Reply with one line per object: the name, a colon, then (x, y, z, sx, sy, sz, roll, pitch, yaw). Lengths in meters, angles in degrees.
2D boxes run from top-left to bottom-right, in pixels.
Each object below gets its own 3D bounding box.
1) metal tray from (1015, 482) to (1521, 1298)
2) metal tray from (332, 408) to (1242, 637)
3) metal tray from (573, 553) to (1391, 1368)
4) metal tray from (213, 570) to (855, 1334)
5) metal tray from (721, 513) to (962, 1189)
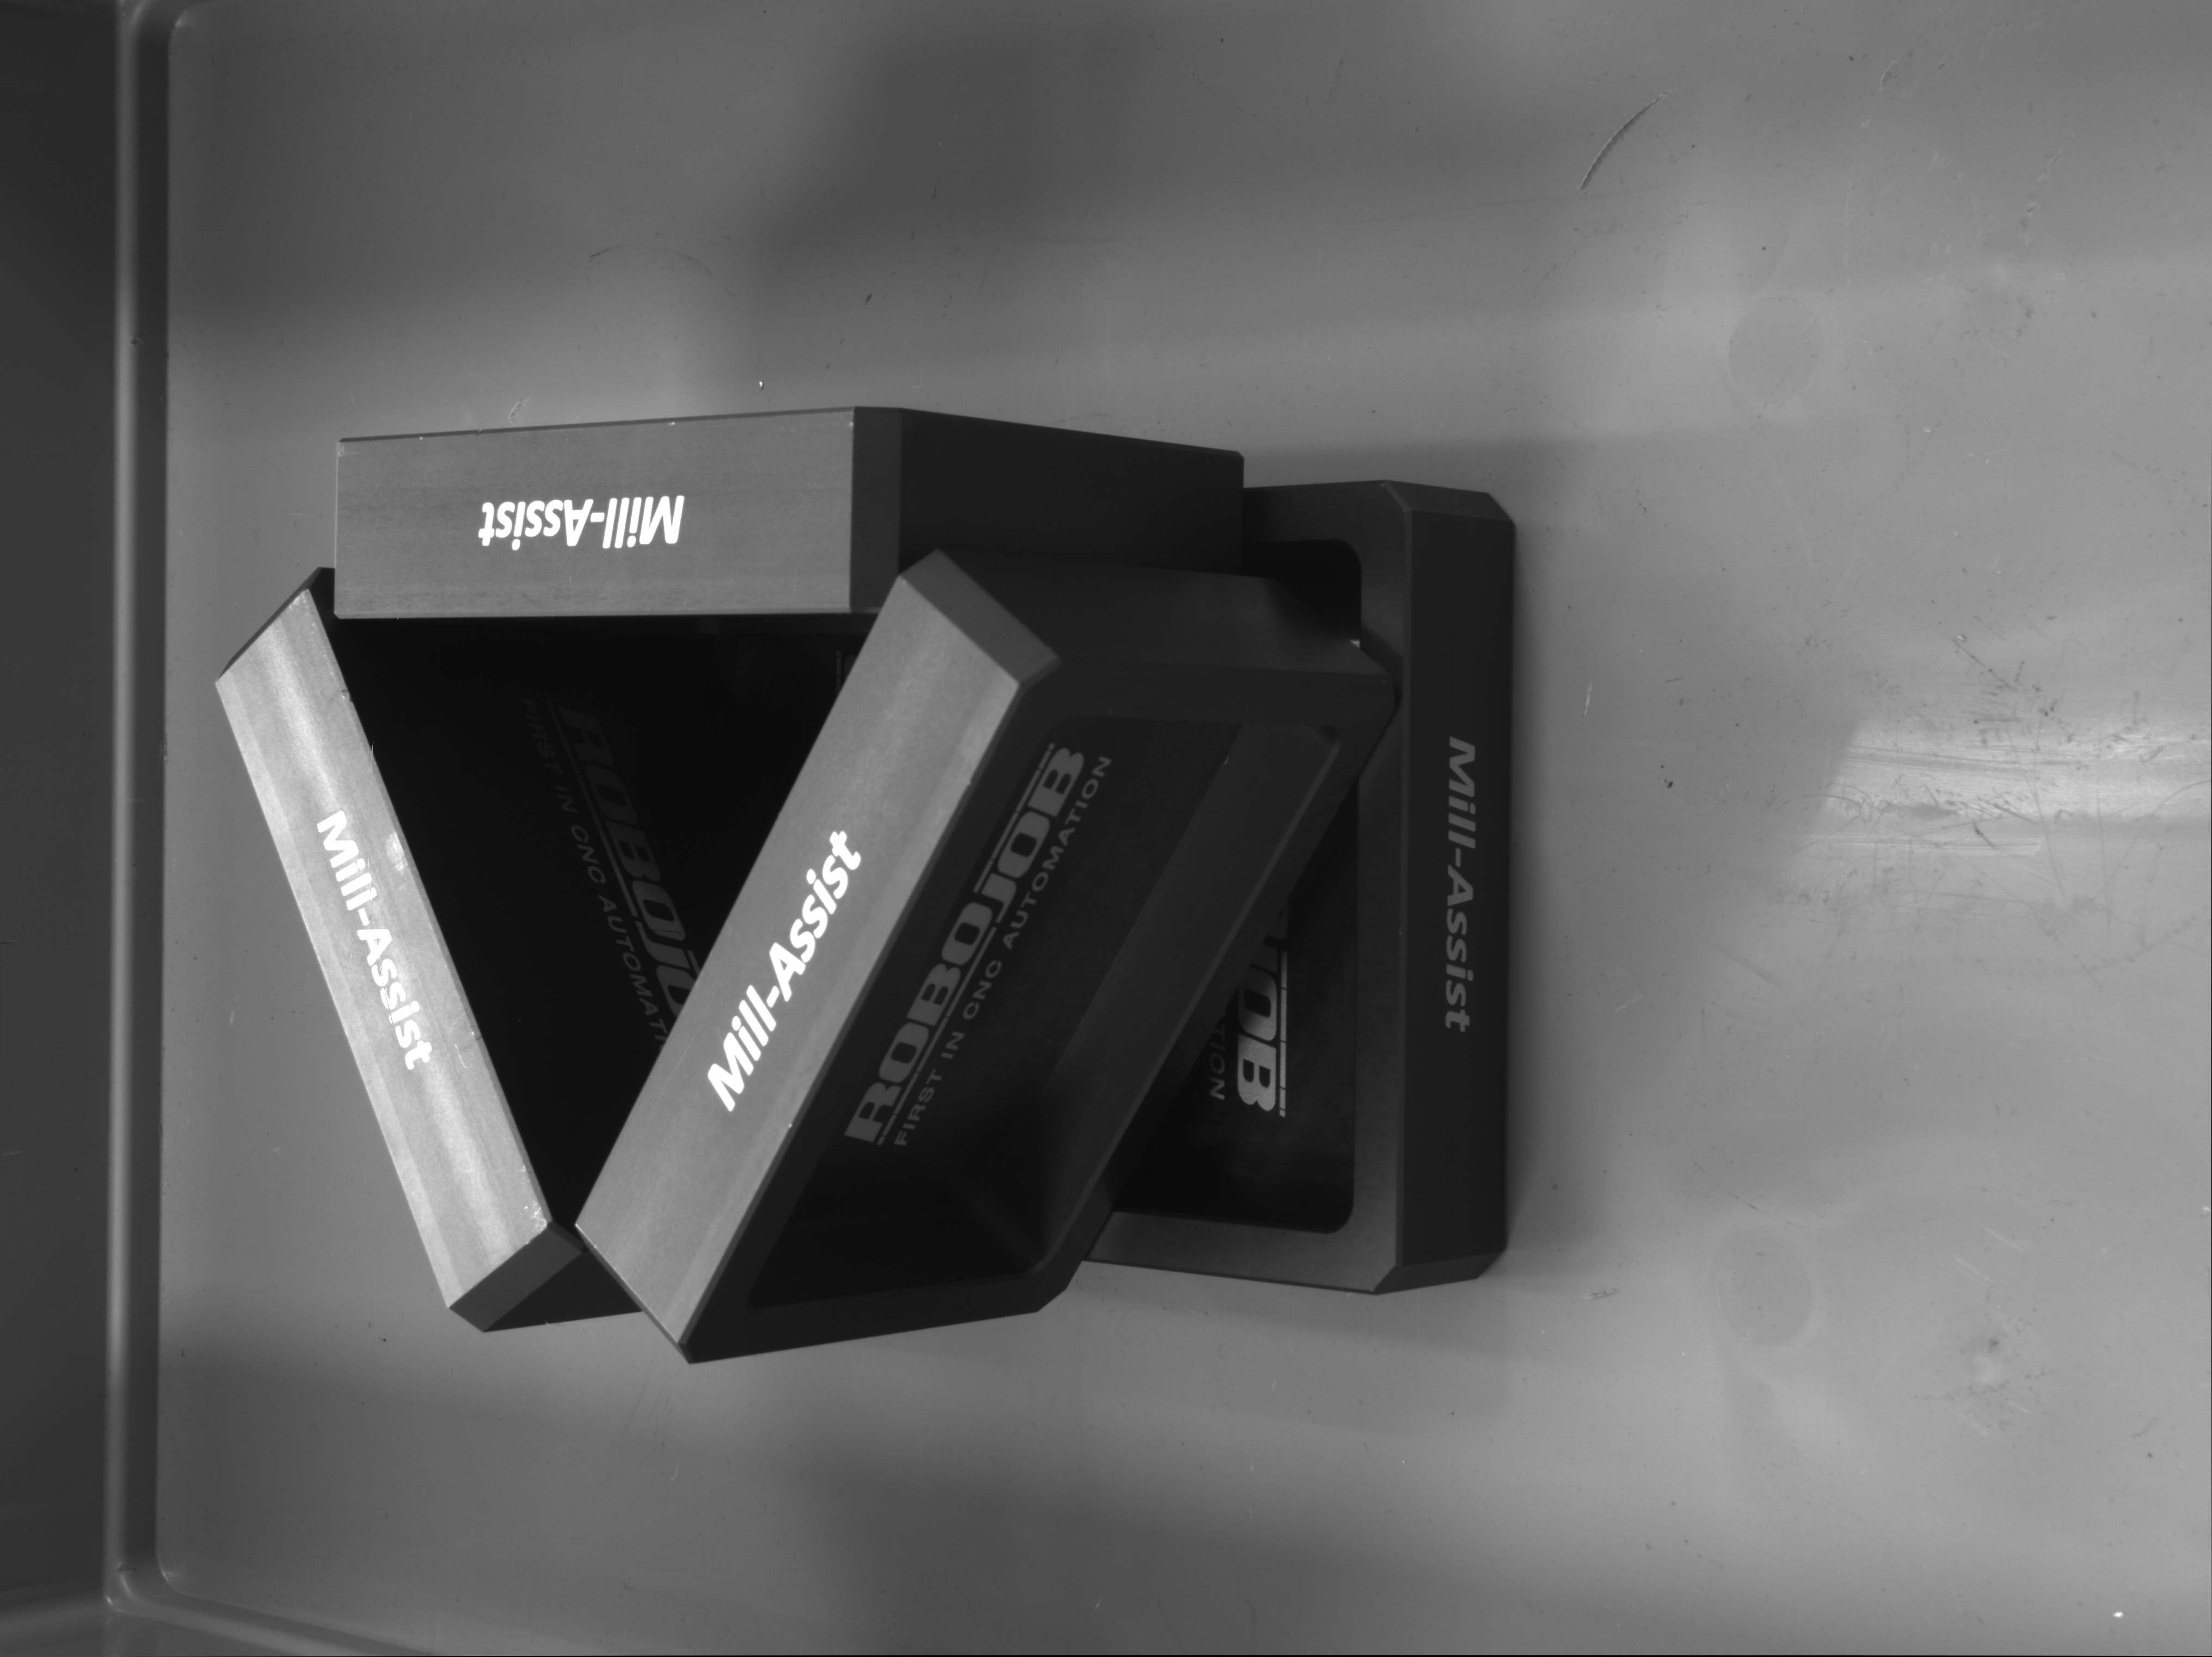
metal tray: (0.023, 0.009, 0.621, 0.090, 0.030, 0.130, 2, 90, 40)
metal tray: (-0.054, -0.048, 0.605, 0.129, 0.090, 0.030, 2, 92, 40)
metal tray: (-0.019, 0.021, 0.576, 0.030, 0.090, 0.130, 43, 116, 32)
metal tray: (-0.092, 0.019, 0.638, 0.030, 0.090, 0.130, -38, 66, 34)
metal tray: (-0.046, 0.007, 0.680, 0.090, 0.030, 0.130, 0, 89, 40)
